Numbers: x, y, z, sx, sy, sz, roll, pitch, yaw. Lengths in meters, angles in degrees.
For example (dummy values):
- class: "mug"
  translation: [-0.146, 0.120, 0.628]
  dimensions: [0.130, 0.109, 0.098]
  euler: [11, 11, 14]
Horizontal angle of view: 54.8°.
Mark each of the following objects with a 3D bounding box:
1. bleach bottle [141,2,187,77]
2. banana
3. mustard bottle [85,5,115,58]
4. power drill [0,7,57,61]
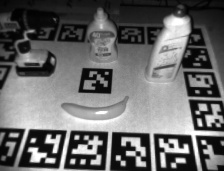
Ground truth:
- class: "bleach bottle"
  translation: [0.146, -0.124, 0.619]
  dimensions: [0.102, 0.252, 0.068]
  euler: [9, 57, 7]
- class: "banana"
  translation: [-0.057, 0.045, 0.622]
  dimensions: [0.197, 0.039, 0.074]
  euler: [-3, 58, 1]
- class: "mustard bottle"
  translation: [-0.040, -0.168, 0.685]
  dimensions: [0.096, 0.192, 0.058]
  euler: [-4, 56, -4]
- class: "power drill"
  translation: [-0.232, -0.156, 0.637]
  dimensions: [0.184, 0.188, 0.057]
  euler: [-4, 56, 2]
